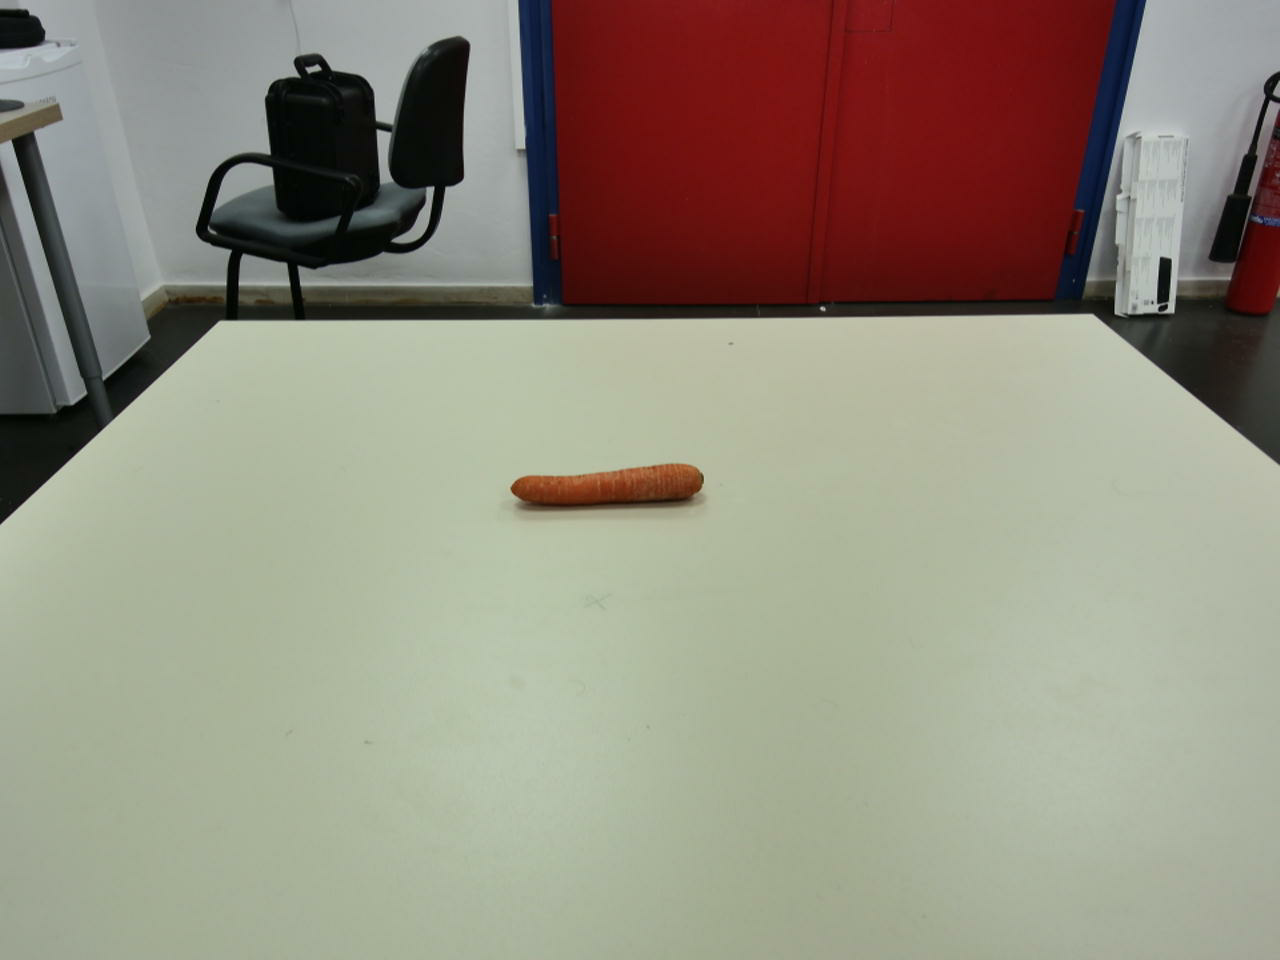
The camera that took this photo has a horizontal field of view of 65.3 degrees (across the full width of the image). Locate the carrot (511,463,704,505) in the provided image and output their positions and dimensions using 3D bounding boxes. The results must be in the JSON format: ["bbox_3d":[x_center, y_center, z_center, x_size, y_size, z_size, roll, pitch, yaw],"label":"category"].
[{"bbox_3d":[-0.021,0.003,0.632,0.122,0.023,0.024,-2,27,-3],"label":"carrot"}]
